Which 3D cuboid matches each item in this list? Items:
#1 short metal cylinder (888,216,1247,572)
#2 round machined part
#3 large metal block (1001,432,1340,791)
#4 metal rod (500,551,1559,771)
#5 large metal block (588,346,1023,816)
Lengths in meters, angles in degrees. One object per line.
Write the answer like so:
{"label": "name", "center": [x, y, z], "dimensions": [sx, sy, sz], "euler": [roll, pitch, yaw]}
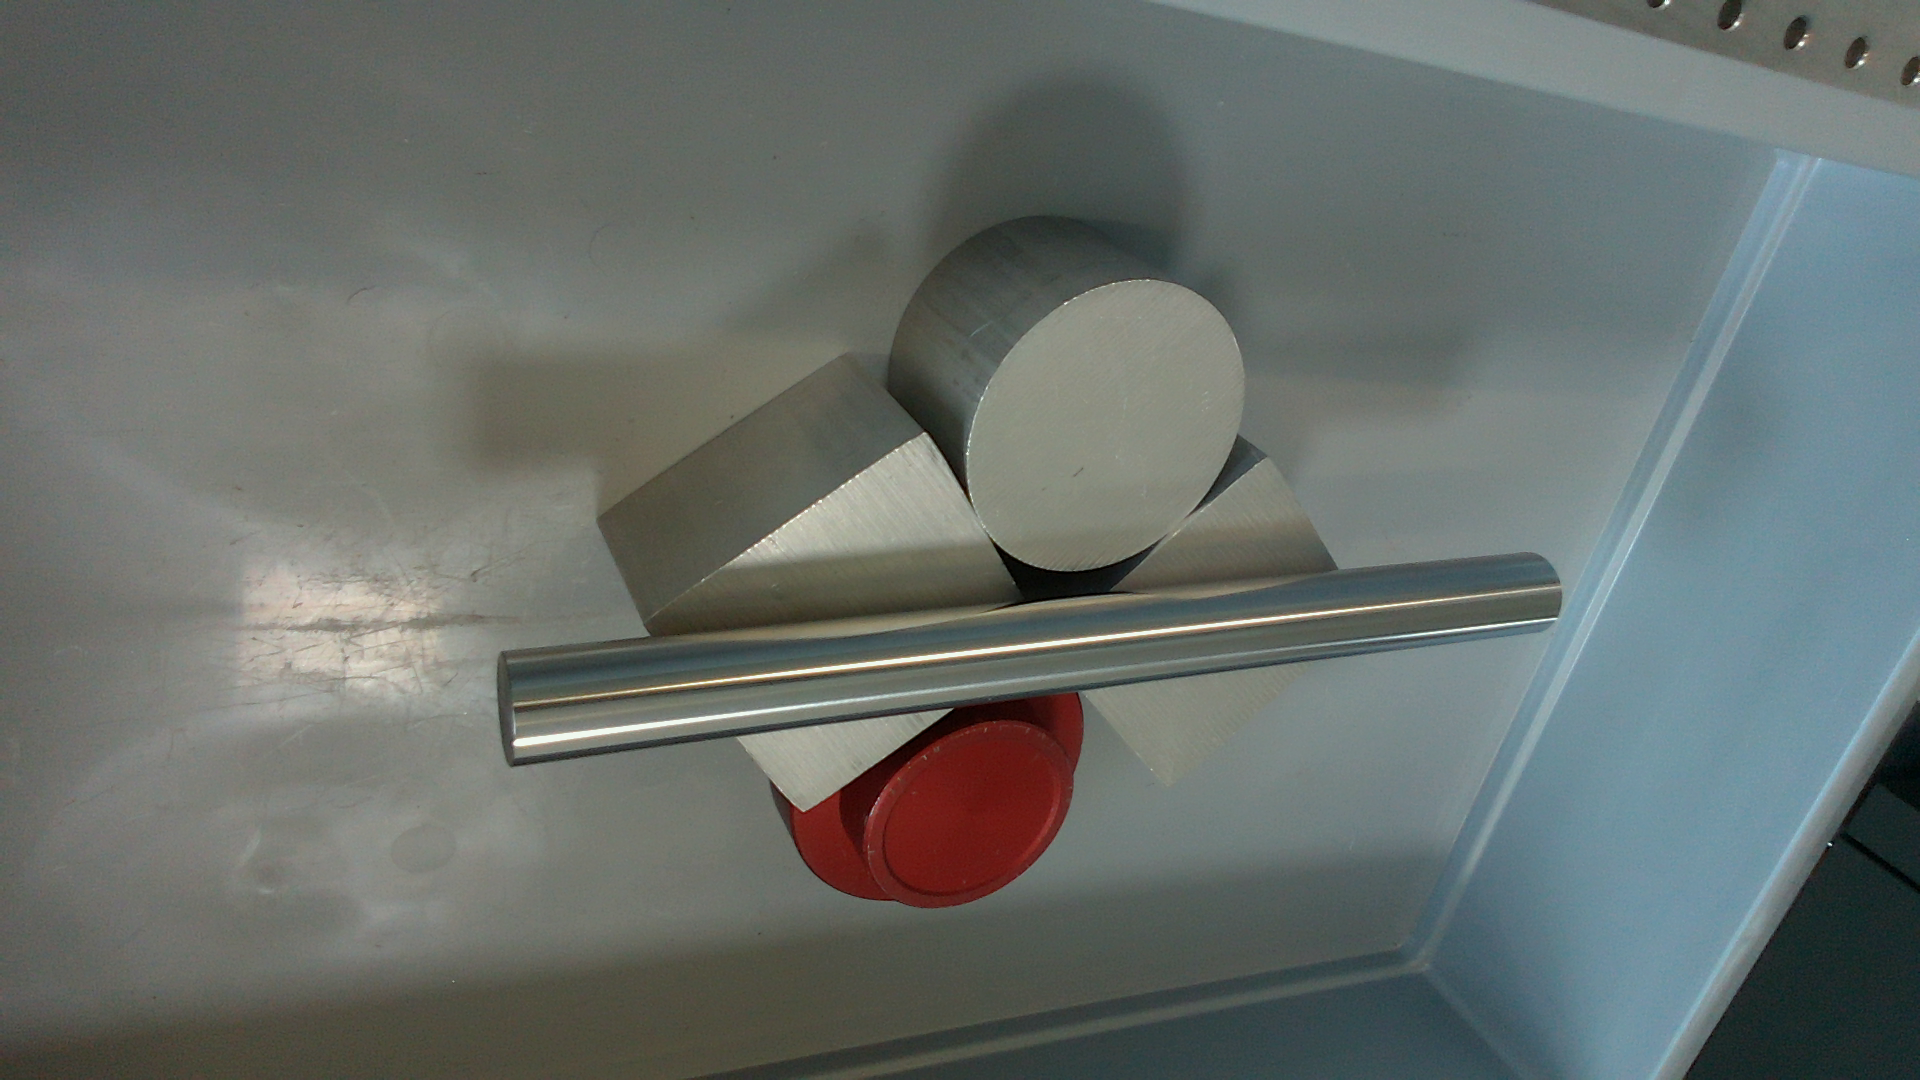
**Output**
{"label": "short metal cylinder", "center": [0.028, -0.039, 0.363], "dimensions": [0.080, 0.050, 0.080], "euler": [-14, 124, -21]}
{"label": "round machined part", "center": [-0.005, 0.072, 0.418], "dimensions": [0.098, 0.042, 0.098], "euler": [-14, 124, -21]}
{"label": "large metal block", "center": [0.064, 0.015, 0.412], "dimensions": [0.080, 0.050, 0.080], "euler": [-40, 129, 0]}
{"label": "metal rod", "center": [0.039, 0.026, 0.358], "dimensions": [0.301, 0.025, 0.025], "euler": [-4, 120, -26]}
{"label": "large metal block", "center": [-0.035, 0.011, 0.359], "dimensions": [0.080, 0.050, 0.080], "euler": [-35, 131, -6]}
